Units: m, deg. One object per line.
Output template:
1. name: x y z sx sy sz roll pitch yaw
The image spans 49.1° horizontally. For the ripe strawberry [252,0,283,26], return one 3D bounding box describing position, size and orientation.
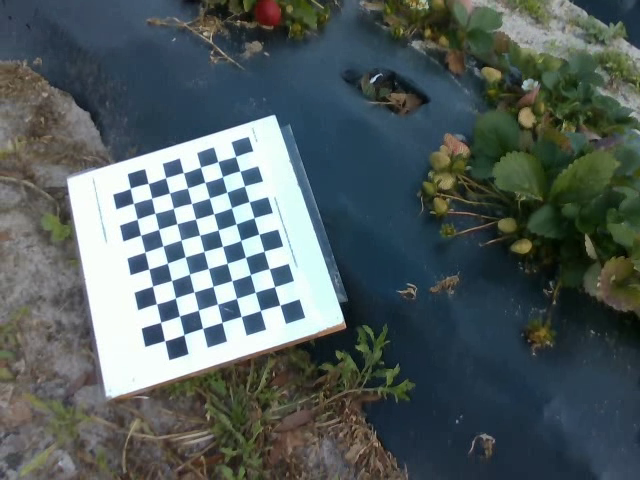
1. ripe strawberry: -0.081 -0.351 1.060 0.043 0.046 0.046 -18 35 -7
